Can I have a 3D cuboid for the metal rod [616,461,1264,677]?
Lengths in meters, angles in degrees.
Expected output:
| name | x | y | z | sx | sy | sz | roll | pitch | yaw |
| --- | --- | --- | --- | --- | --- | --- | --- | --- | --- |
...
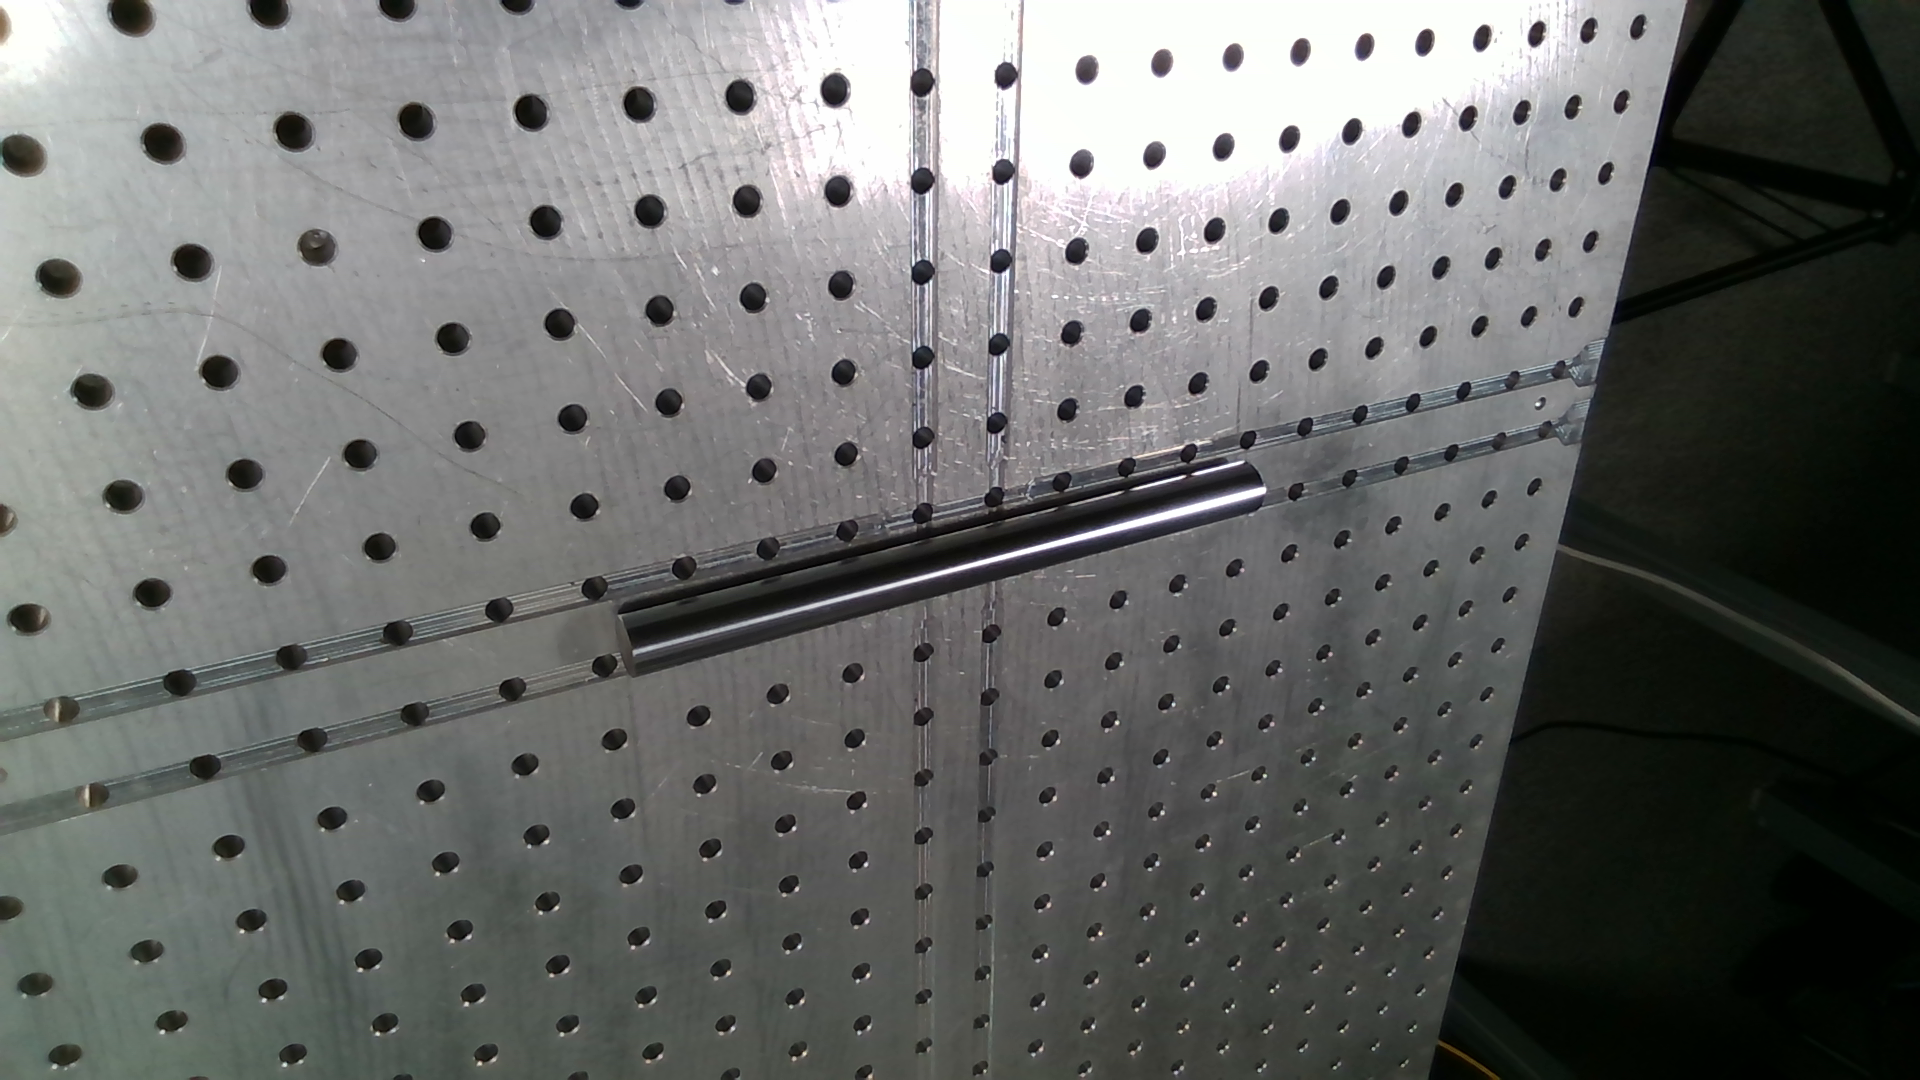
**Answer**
| name | x | y | z | sx | sy | sz | roll | pitch | yaw |
| --- | --- | --- | --- | --- | --- | --- | --- | --- | --- |
| metal rod | 0.004 | 0.008 | 0.590 | 0.300 | 0.025 | 0.025 | -14 | 121 | -25 |
